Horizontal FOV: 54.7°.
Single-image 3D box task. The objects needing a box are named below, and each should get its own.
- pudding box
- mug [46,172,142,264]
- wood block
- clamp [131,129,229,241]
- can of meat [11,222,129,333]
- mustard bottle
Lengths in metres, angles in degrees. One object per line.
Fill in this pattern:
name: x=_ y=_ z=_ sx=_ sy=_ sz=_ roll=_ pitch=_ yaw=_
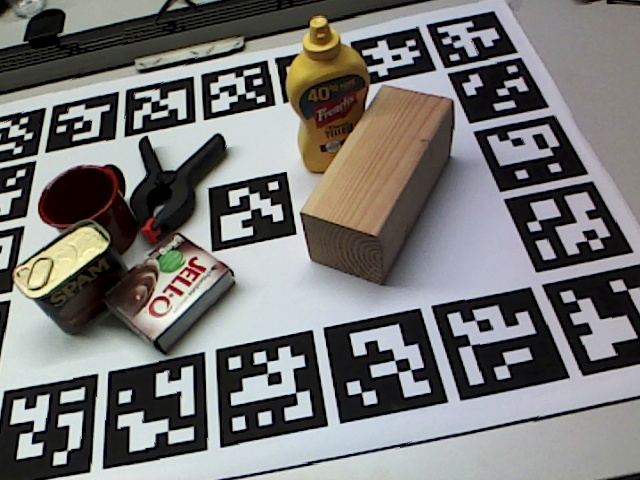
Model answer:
pudding box: x=-0.160 y=0.056 z=0.677 sx=0.090 sy=0.038 sz=0.113 roll=32 pitch=64 yaw=27
mug: x=-0.266 y=-0.028 z=0.757 sx=0.093 sy=0.081 sz=0.117 roll=6 pitch=57 yaw=14
wood block: x=0.071 y=-0.063 z=0.694 sx=0.090 sy=0.090 sz=0.206 roll=18 pitch=58 yaw=24
clamp: x=-0.191 y=-0.074 z=0.783 sx=0.122 sy=0.036 sz=0.165 roll=4 pitch=57 yaw=11
can of meat: x=-0.263 y=0.043 z=0.670 sx=0.101 sy=0.083 sz=0.058 roll=-38 pitch=58 yaw=-17
mustard bottle: x=0.007 y=-0.168 z=0.713 sx=0.096 sy=0.190 sz=0.059 roll=-16 pitch=54 yaw=-1
